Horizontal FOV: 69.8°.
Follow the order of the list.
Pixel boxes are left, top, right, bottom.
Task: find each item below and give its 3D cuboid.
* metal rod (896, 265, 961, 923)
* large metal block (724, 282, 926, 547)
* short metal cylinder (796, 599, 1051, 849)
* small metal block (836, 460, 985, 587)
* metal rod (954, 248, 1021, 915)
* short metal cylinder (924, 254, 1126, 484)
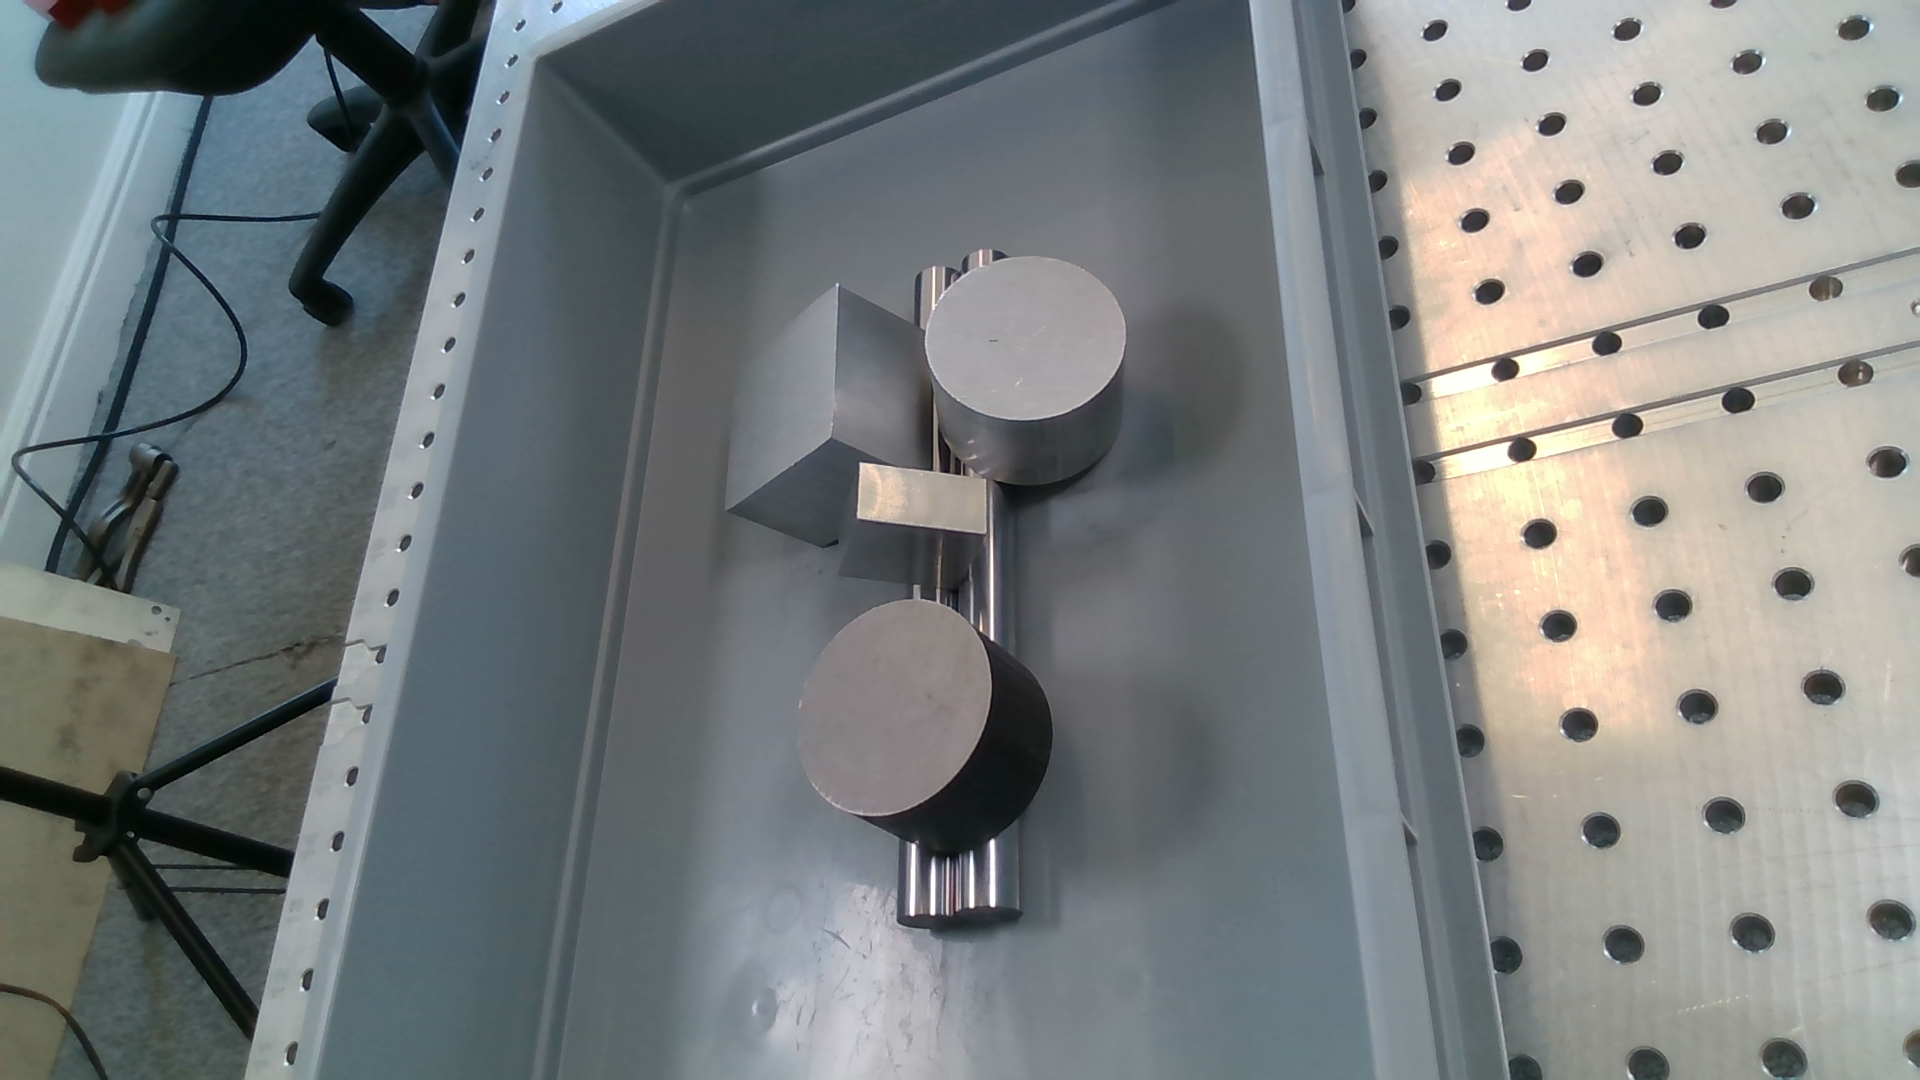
[{"bbox_3d":[-0.010,0.010,0.586,0.025,0.025,0.299,-14,59,25],"label":"metal rod"},{"bbox_3d":[-0.060,-0.054,0.616,0.080,0.050,0.080,-29,51,41],"label":"large metal block"},{"bbox_3d":[-0.013,0.068,0.508,0.080,0.050,0.080,-14,59,25],"label":"short metal cylinder"},{"bbox_3d":[-0.021,-0.005,0.547,0.050,0.050,0.025,7,62,-12],"label":"small metal block"},{"bbox_3d":[0.011,0.004,0.576,0.025,0.025,0.299,-14,59,25],"label":"metal rod"},{"bbox_3d":[0.028,-0.071,0.570,0.080,0.050,0.080,-2,62,4],"label":"short metal cylinder"}]
